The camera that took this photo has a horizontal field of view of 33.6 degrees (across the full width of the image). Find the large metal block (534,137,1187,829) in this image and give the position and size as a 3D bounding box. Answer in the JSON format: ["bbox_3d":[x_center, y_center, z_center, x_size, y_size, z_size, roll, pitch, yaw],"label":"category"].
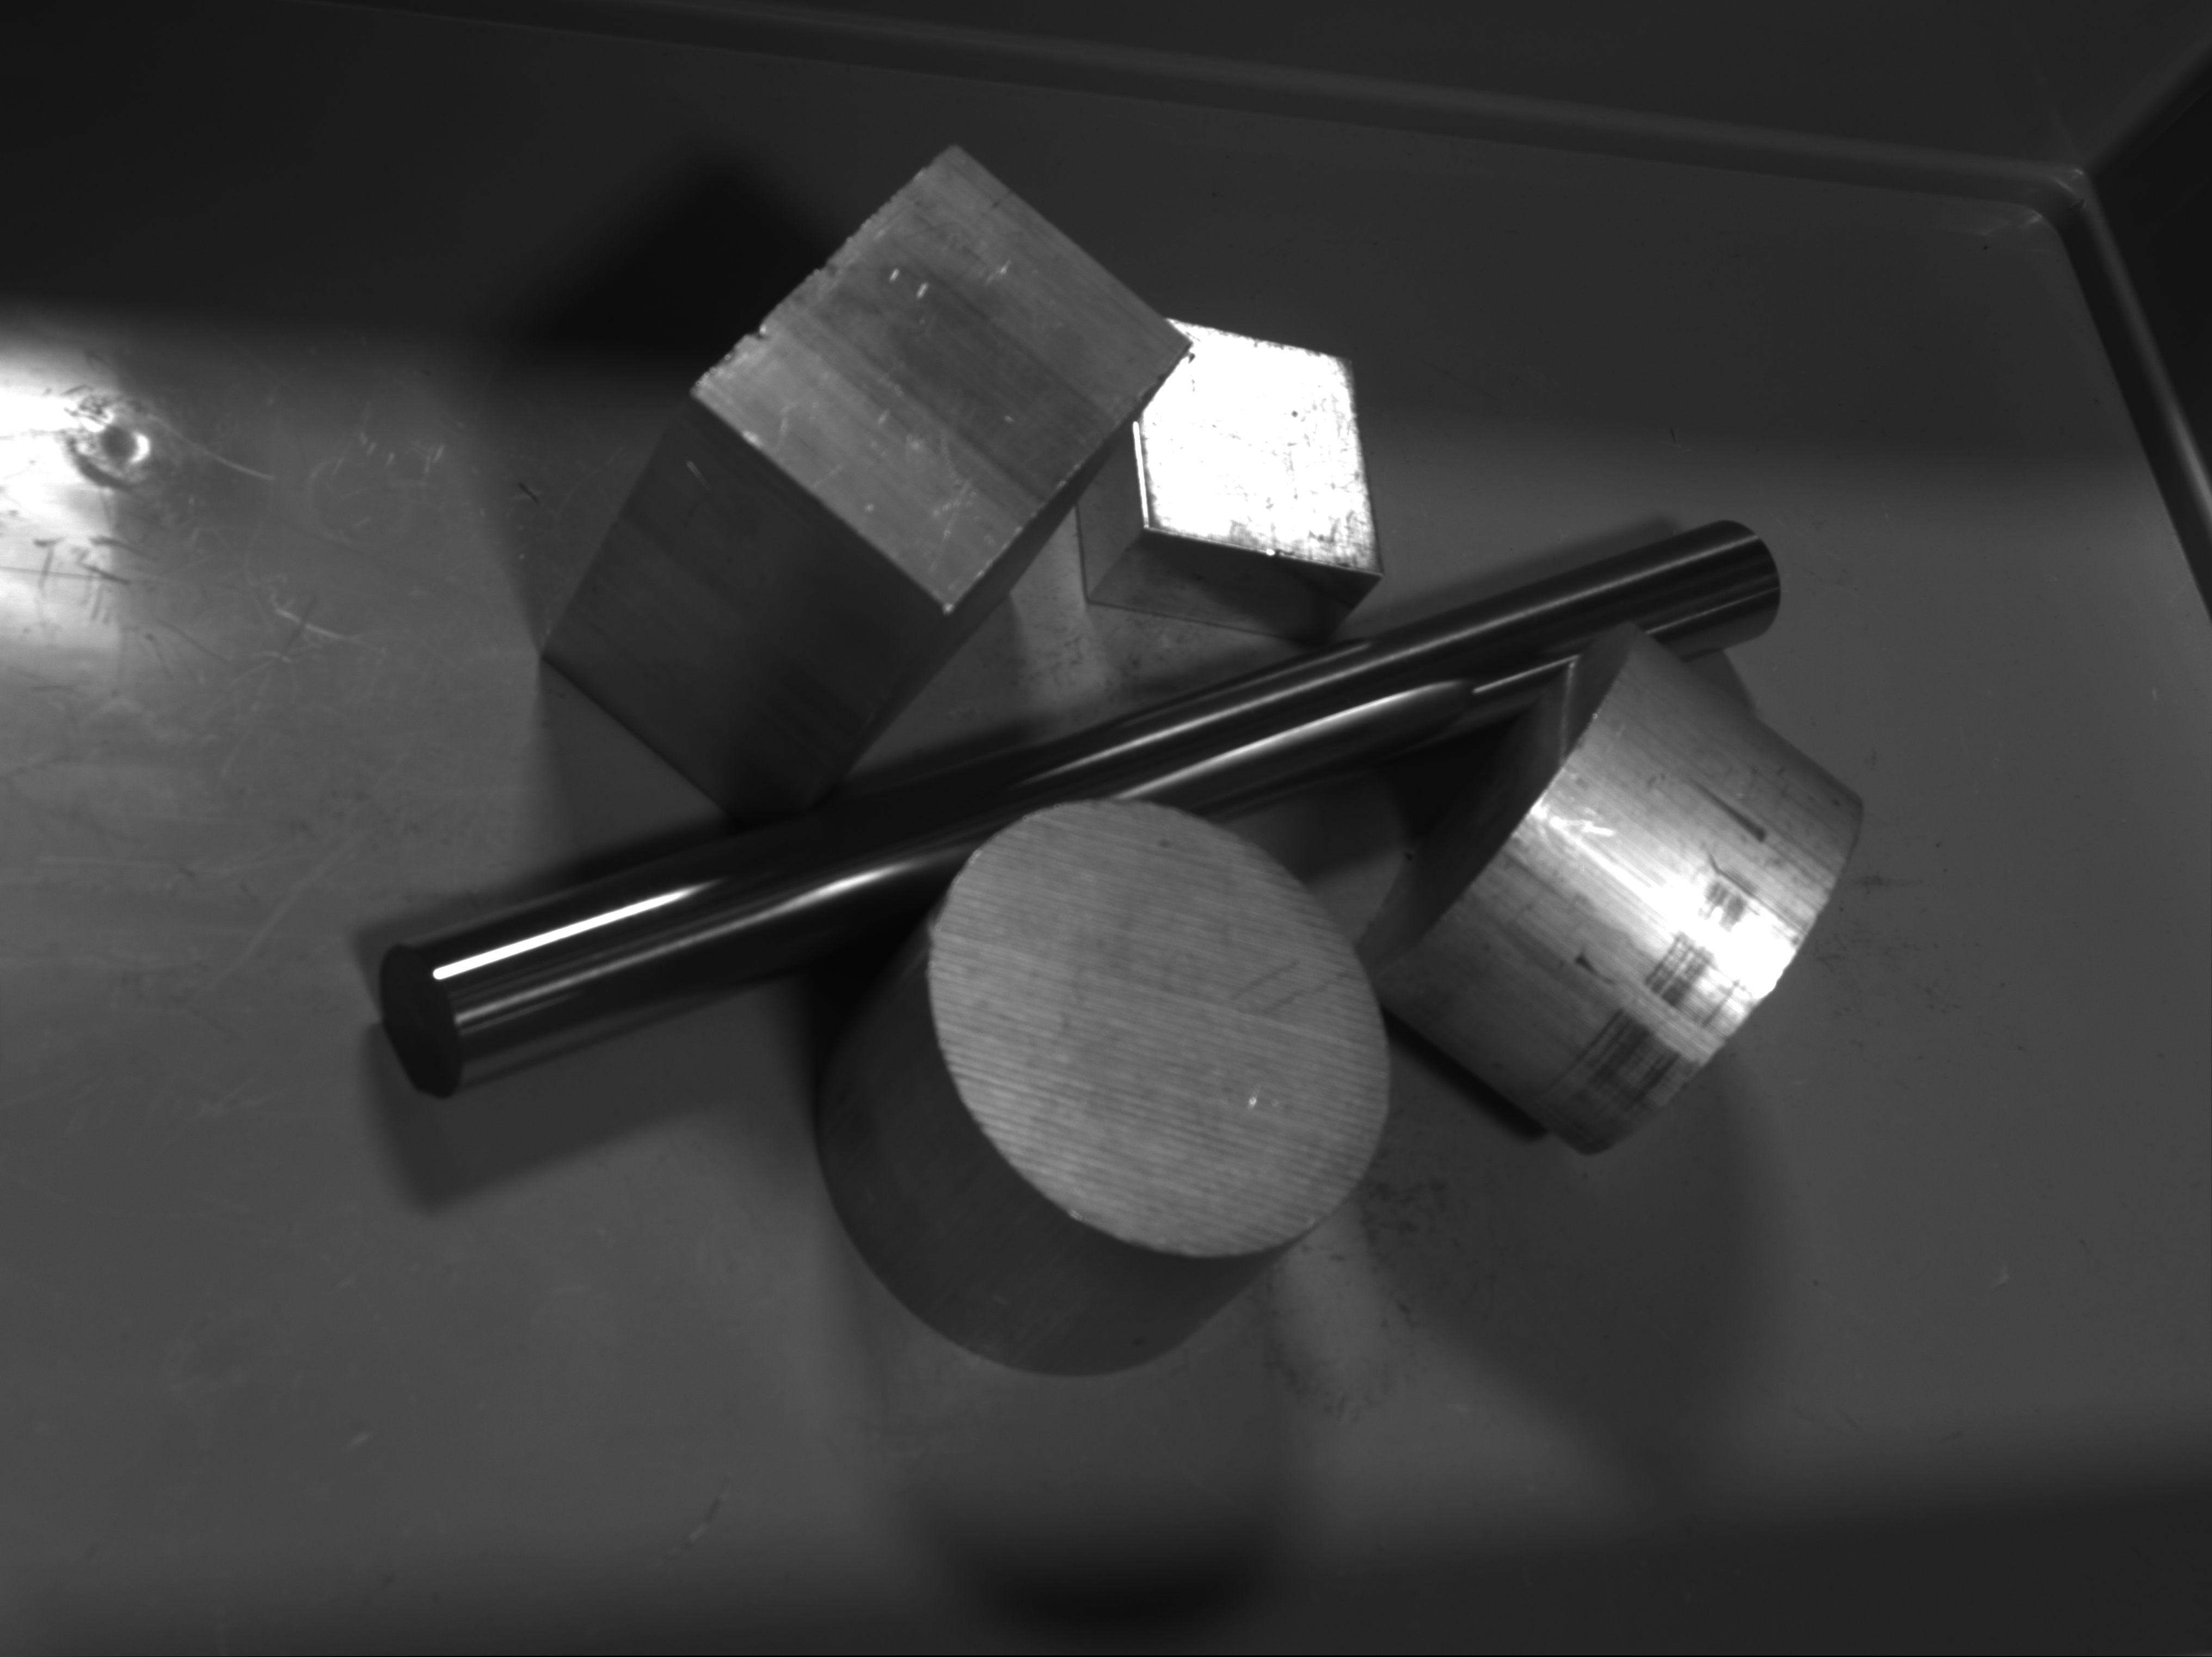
[{"bbox_3d":[-0.042,-0.056,0.616,0.050,0.080,0.080,40,51,-1],"label":"large metal block"}]

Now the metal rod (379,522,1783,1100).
[{"bbox_3d":[0.010,-0.010,0.651,0.301,0.025,0.025,-19,72,-35],"label":"metal rod"}]

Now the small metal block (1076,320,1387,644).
[{"bbox_3d":[0.022,-0.066,0.691,0.050,0.025,0.050,9,58,-24],"label":"small metal block"}]

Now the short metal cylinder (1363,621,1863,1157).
[{"bbox_3d":[0.088,0.011,0.644,0.050,0.080,0.080,37,51,-4],"label":"short metal cylinder"}]

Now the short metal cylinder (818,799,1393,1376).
[{"bbox_3d":[0.000,0.042,0.596,0.080,0.050,0.080,14,56,-21],"label":"short metal cylinder"}]
